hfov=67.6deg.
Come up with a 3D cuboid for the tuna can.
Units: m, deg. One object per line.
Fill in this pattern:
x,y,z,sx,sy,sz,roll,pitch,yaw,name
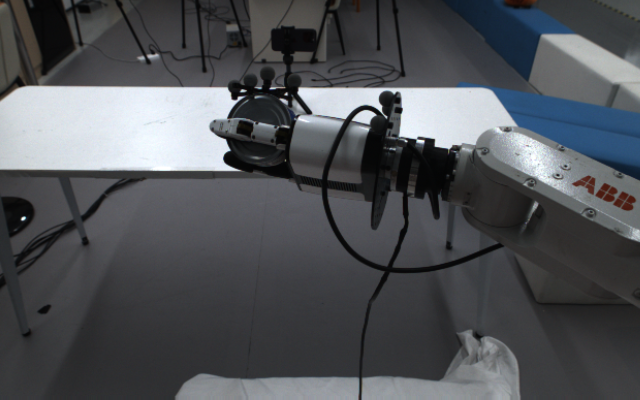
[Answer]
-0.069,-0.085,0.590,0.085,0.085,0.034,15,1,18,tuna can
